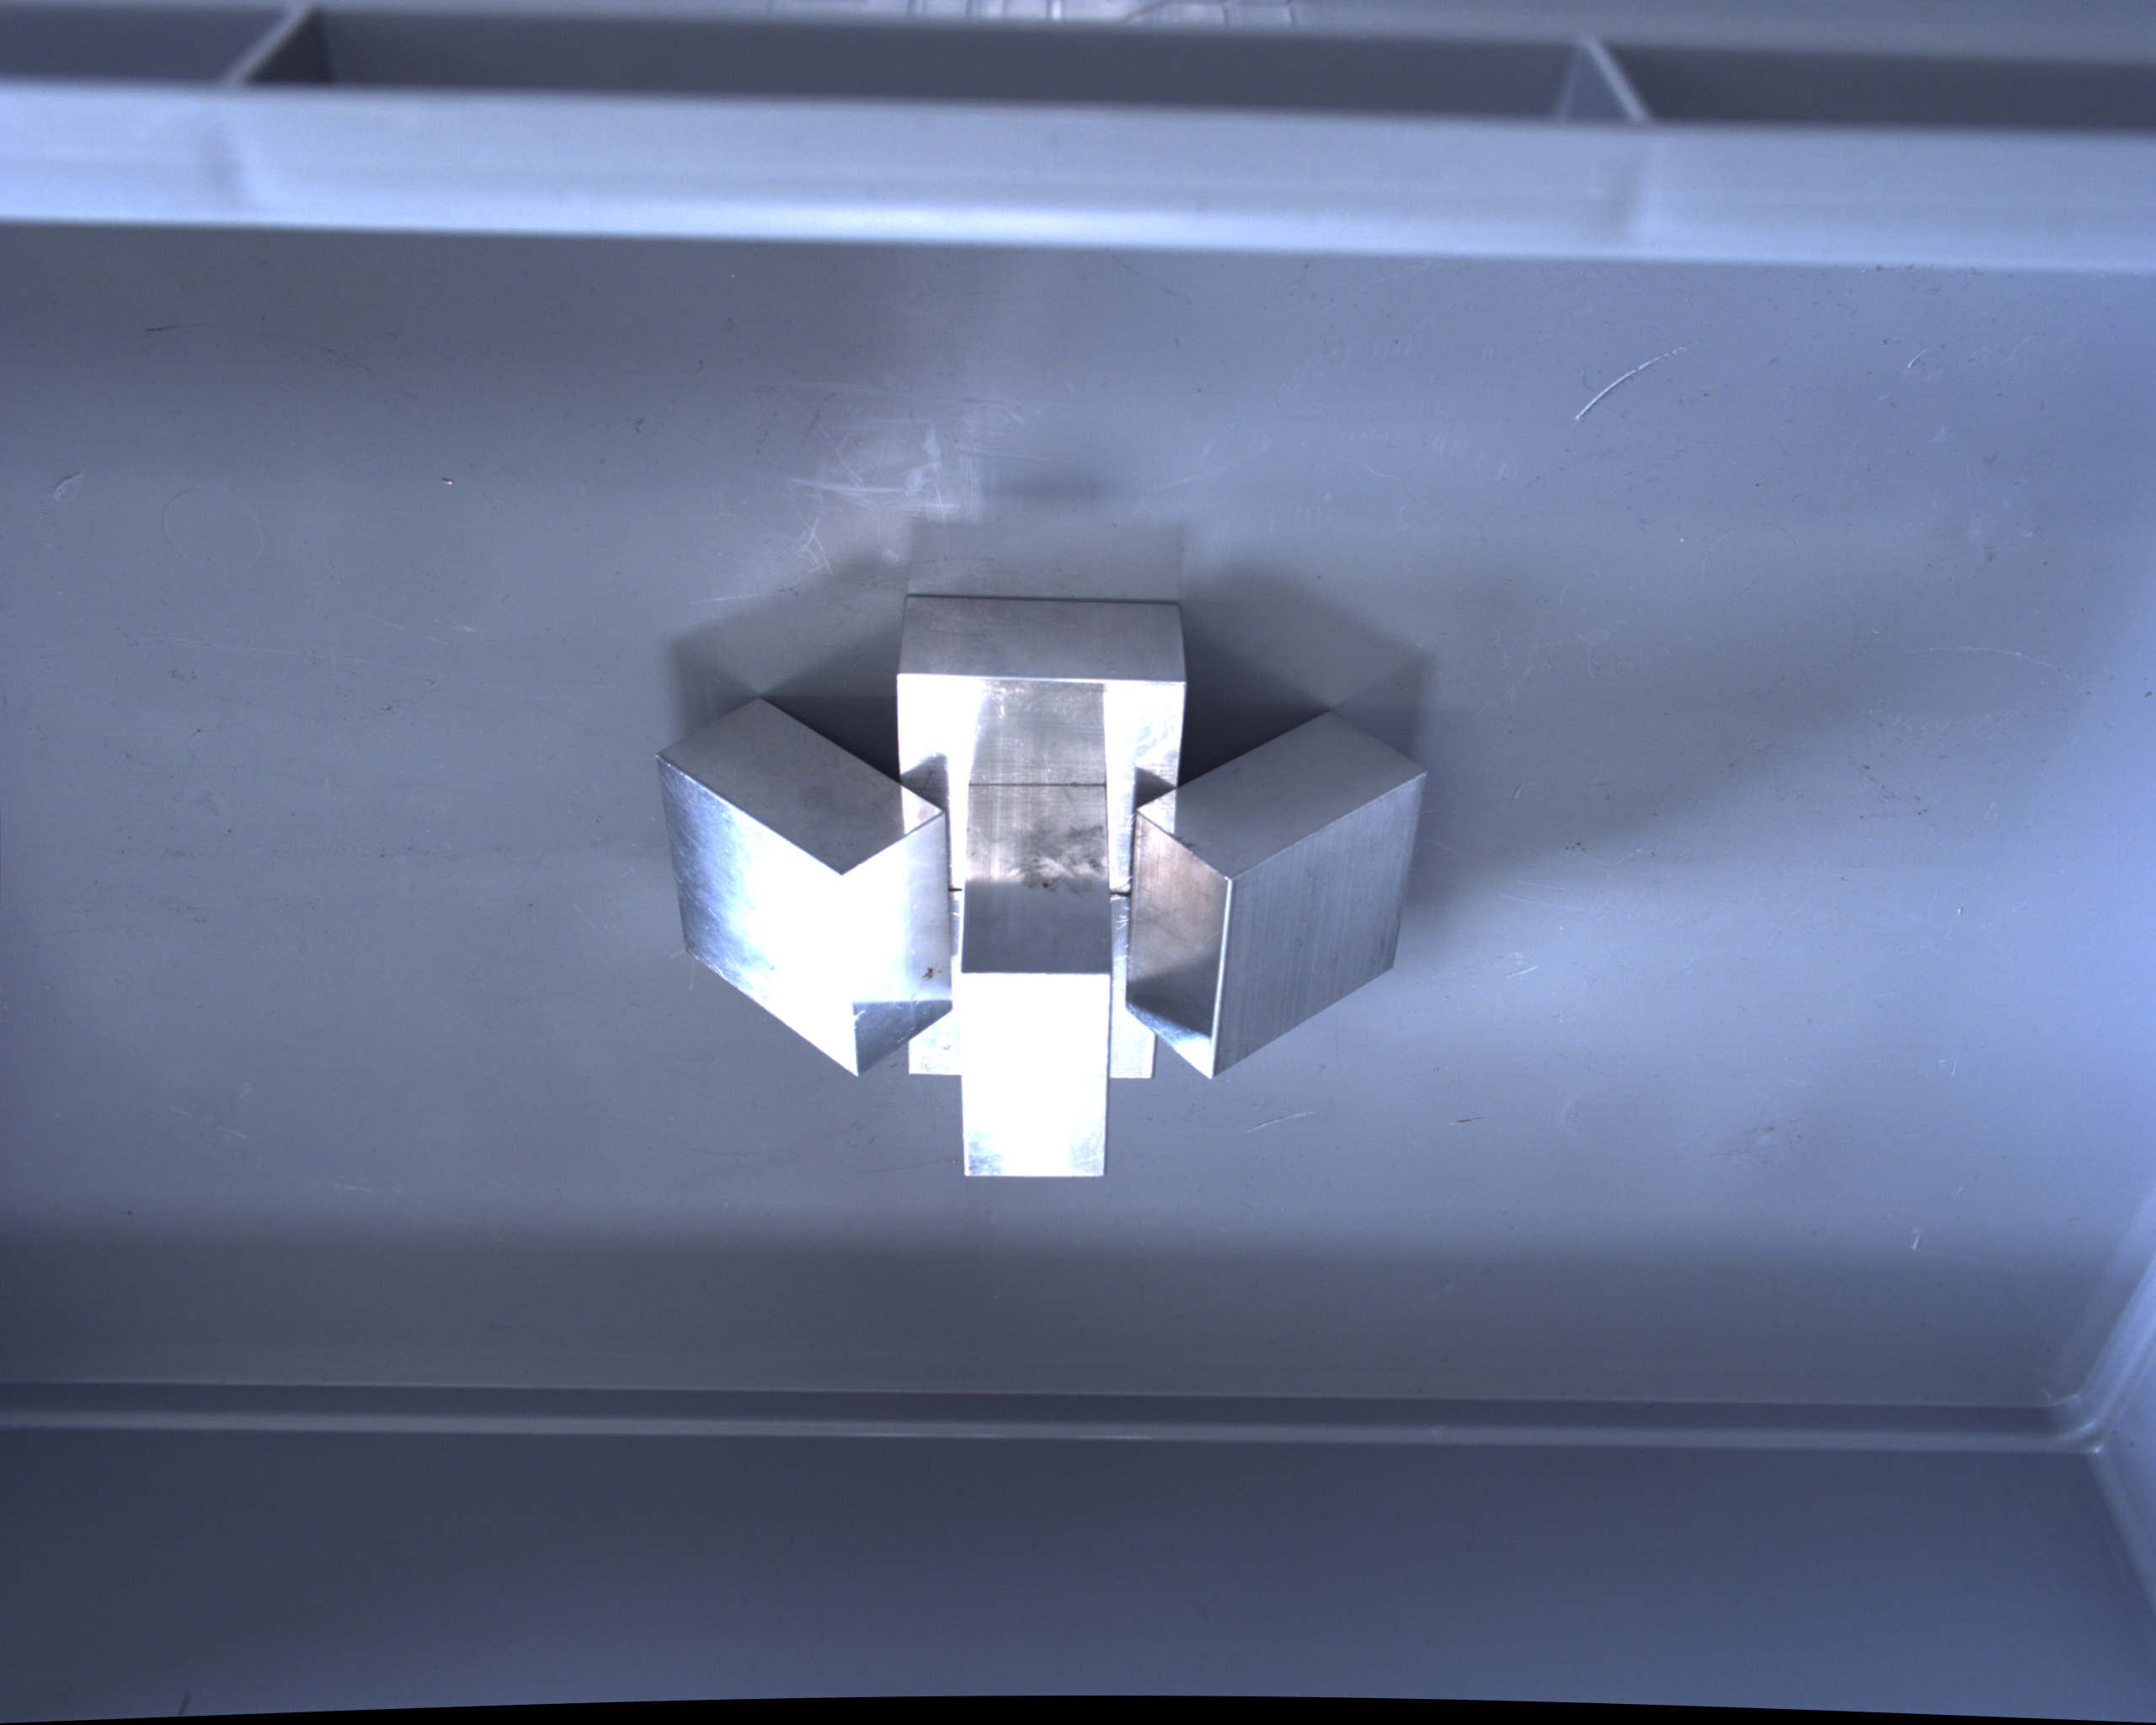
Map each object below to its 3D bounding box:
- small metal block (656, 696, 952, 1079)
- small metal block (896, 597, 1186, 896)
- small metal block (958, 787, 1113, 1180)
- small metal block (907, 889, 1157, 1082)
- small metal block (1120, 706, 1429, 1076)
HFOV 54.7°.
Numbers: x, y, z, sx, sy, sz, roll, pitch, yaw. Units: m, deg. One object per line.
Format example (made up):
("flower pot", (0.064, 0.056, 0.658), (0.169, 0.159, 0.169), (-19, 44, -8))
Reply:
("small metal block", (-0.051, 0.004, 0.392), (0.050, 0.025, 0.050), (32, 139, 31))
("small metal block", (-0.008, -0.021, 0.388), (0.050, 0.025, 0.050), (1, 130, -2))
("small metal block", (-0.007, 0.021, 0.375), (0.025, 0.050, 0.050), (0, 130, -1))
("small metal block", (-0.009, 0.017, 0.421), (0.050, 0.025, 0.050), (2, 130, -2))
("small metal block", (0.036, 0.005, 0.396), (0.050, 0.025, 0.050), (-27, 139, -30))
